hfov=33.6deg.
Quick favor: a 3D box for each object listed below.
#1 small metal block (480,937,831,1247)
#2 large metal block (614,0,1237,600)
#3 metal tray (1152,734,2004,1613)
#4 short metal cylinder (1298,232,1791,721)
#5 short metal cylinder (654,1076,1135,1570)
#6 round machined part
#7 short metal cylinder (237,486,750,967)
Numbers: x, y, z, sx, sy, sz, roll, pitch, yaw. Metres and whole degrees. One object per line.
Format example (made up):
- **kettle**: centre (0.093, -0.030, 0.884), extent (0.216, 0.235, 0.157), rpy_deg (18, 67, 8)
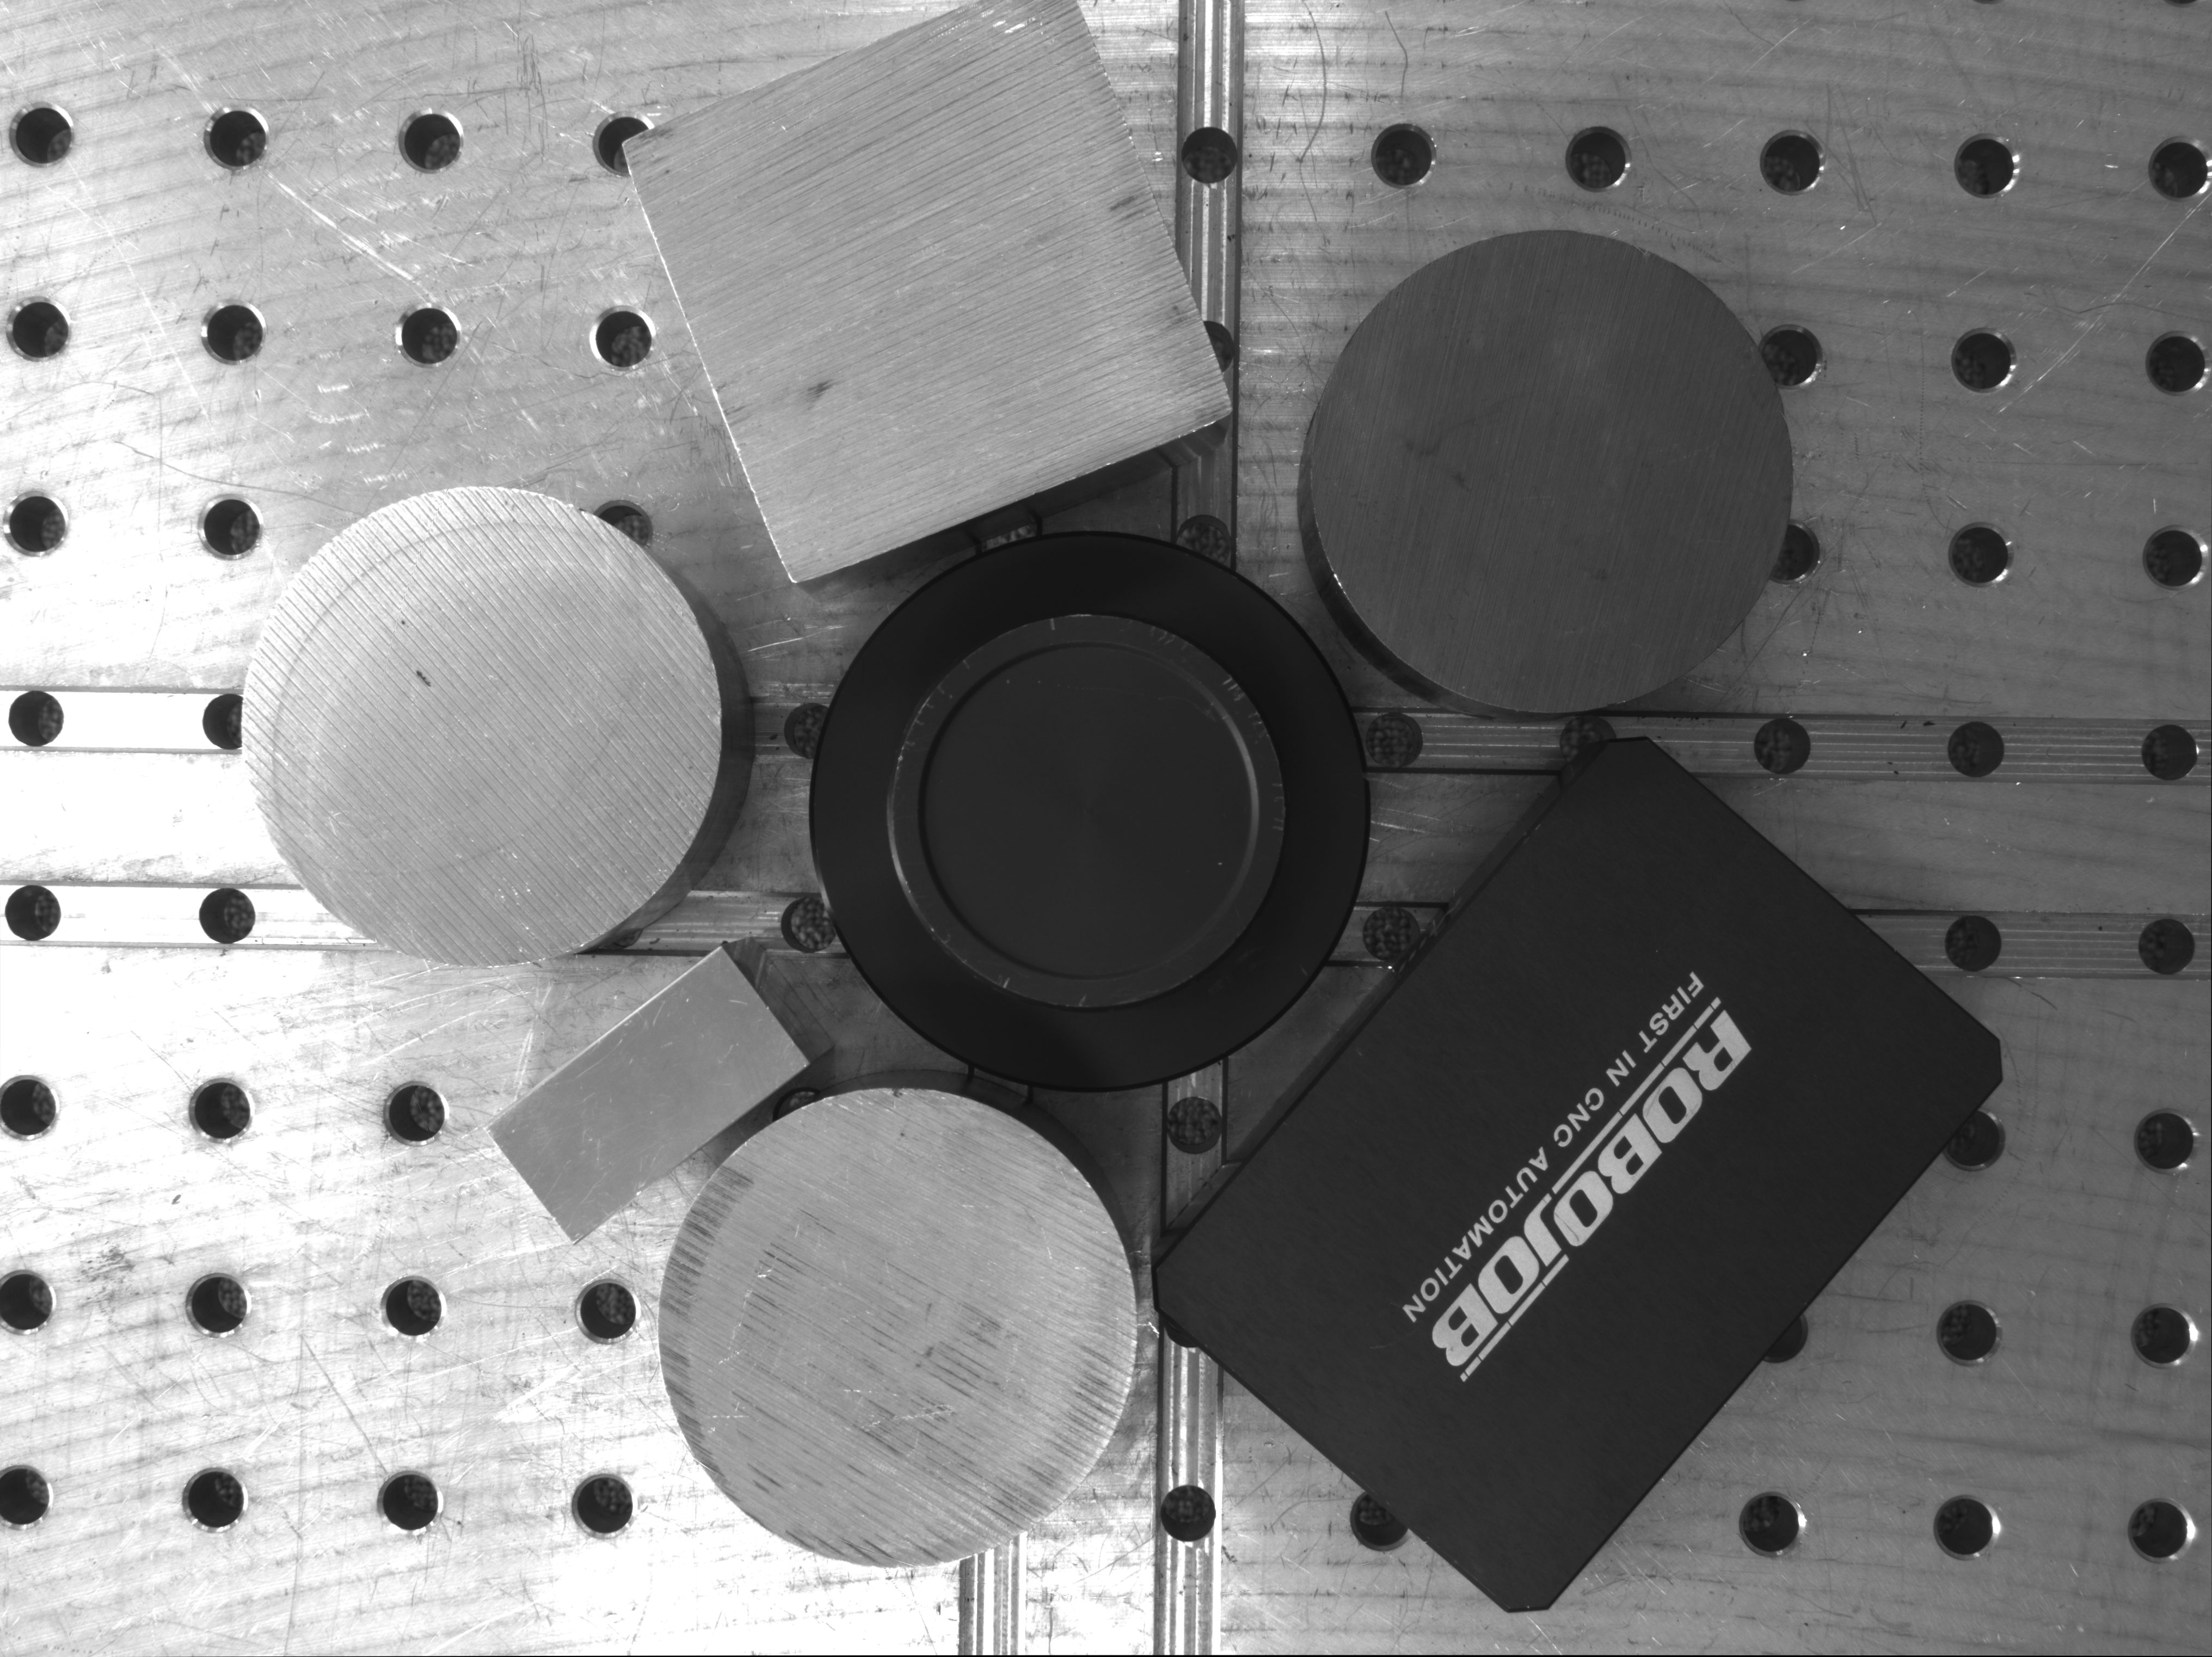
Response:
- **small metal block**: centre (-0.076, 0.044, 0.634), extent (0.050, 0.050, 0.025), rpy_deg (-37, 90, 0)
- **large metal block**: centre (-0.030, -0.093, 0.635), extent (0.080, 0.050, 0.080), rpy_deg (-21, 90, 0)
- **metal tray**: centre (0.081, 0.059, 0.644), extent (0.090, 0.030, 0.130), rpy_deg (40, 89, 0)
- **short metal cylinder**: centre (0.074, -0.059, 0.635), extent (0.080, 0.050, 0.080), rpy_deg (0, 90, 0)
- **short metal cylinder**: centre (-0.035, 0.083, 0.634), extent (0.080, 0.050, 0.080), rpy_deg (0, 90, 0)
- **round machined part**: centre (-0.003, -0.003, 0.638), extent (0.098, 0.042, 0.098), rpy_deg (0, 90, 0)
- **short metal cylinder**: centre (-0.104, -0.017, 0.634), extent (0.080, 0.050, 0.080), rpy_deg (0, 90, 0)
